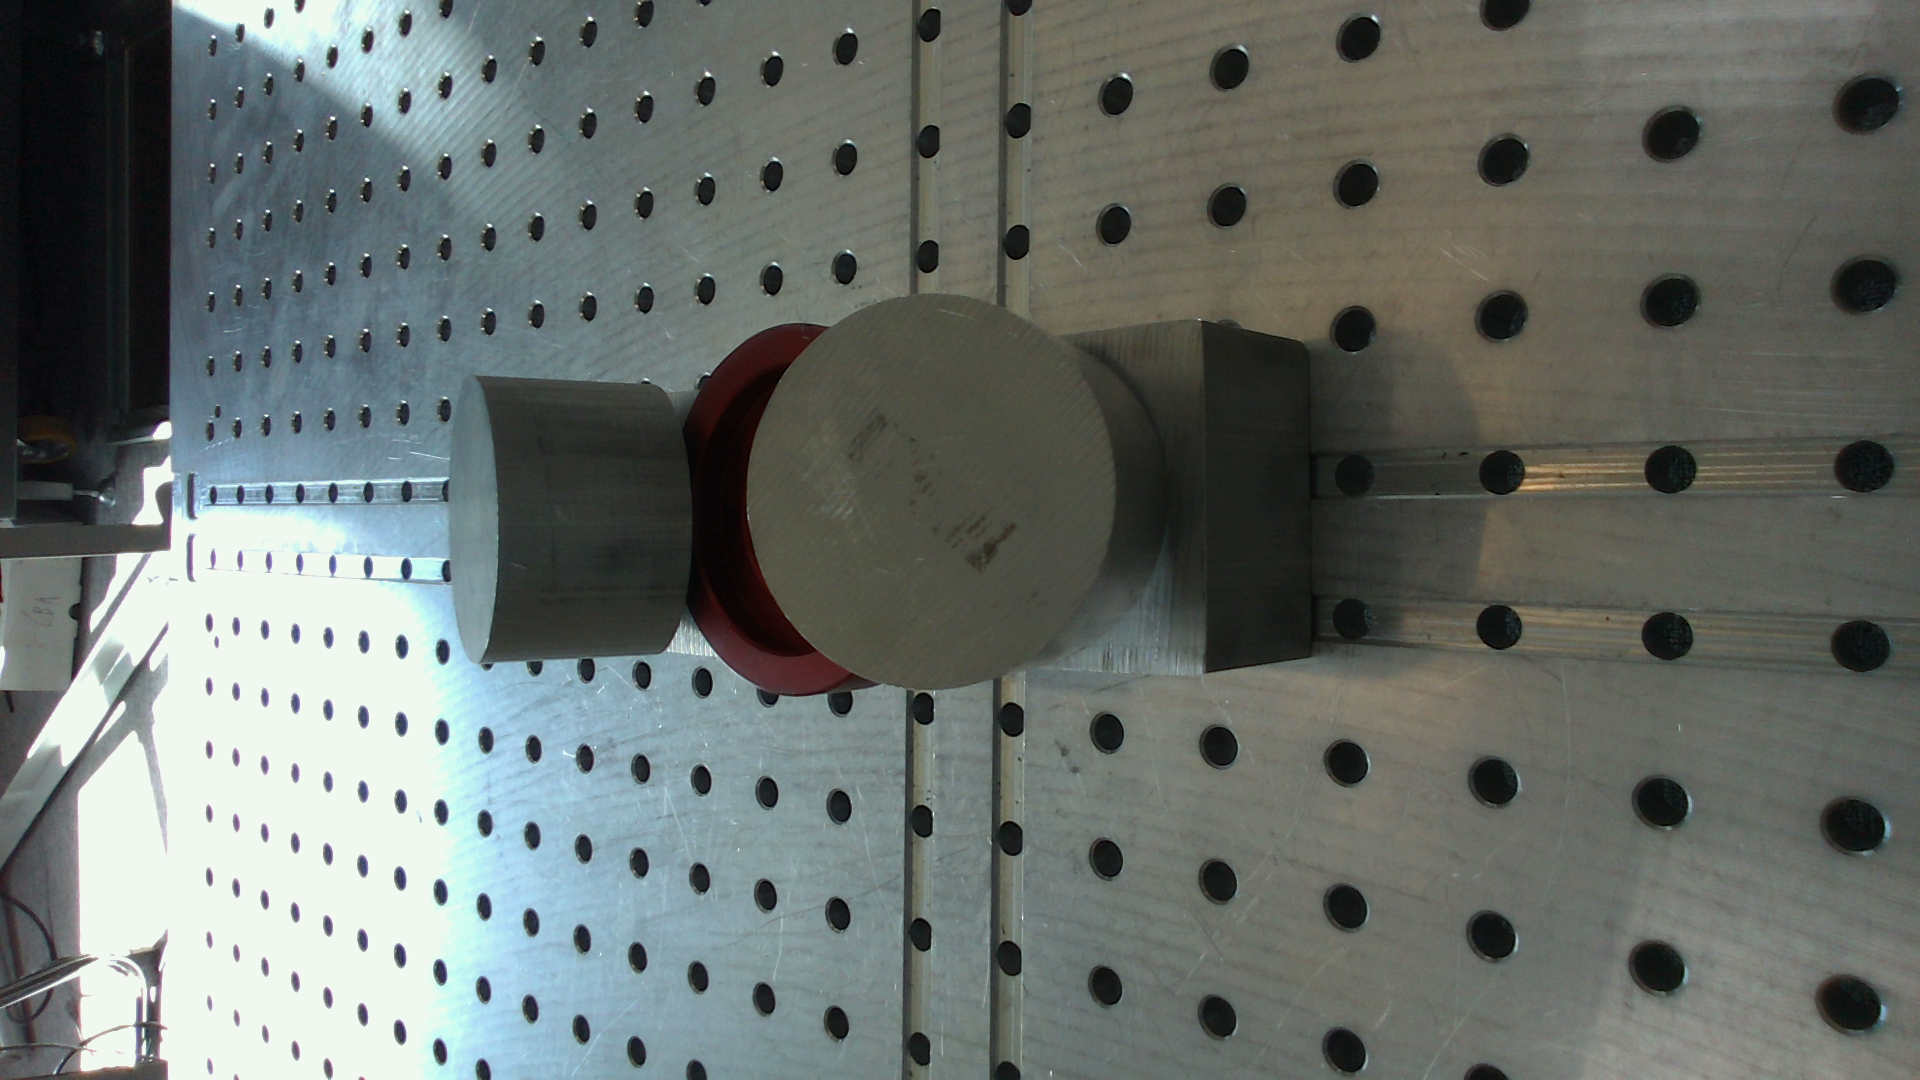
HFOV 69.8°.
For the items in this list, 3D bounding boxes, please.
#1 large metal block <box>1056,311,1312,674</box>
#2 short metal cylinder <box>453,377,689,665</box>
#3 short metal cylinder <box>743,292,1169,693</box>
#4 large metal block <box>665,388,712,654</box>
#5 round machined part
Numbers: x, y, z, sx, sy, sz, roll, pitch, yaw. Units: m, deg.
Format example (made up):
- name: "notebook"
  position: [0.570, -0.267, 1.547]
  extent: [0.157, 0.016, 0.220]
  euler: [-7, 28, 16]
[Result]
- name: "large metal block"
  position: [0.040, -0.010, 0.348]
  extent: [0.080, 0.050, 0.080]
  euler: [-1, 89, 40]
- name: "short metal cylinder"
  position: [-0.114, -0.006, 0.395]
  extent: [0.080, 0.050, 0.080]
  euler: [4, 94, 61]
- name: "short metal cylinder"
  position: [0.001, -0.009, 0.298]
  extent: [0.080, 0.050, 0.080]
  euler: [0, 90, 20]
- name: "large metal block"
  position: [-0.074, -0.006, 0.443]
  extent: [0.080, 0.050, 0.080]
  euler: [1, 91, 40]
- name: "round machined part"
  position: [-0.033, -0.008, 0.376]
  extent: [0.098, 0.042, 0.098]
  euler: [0, 90, 40]
